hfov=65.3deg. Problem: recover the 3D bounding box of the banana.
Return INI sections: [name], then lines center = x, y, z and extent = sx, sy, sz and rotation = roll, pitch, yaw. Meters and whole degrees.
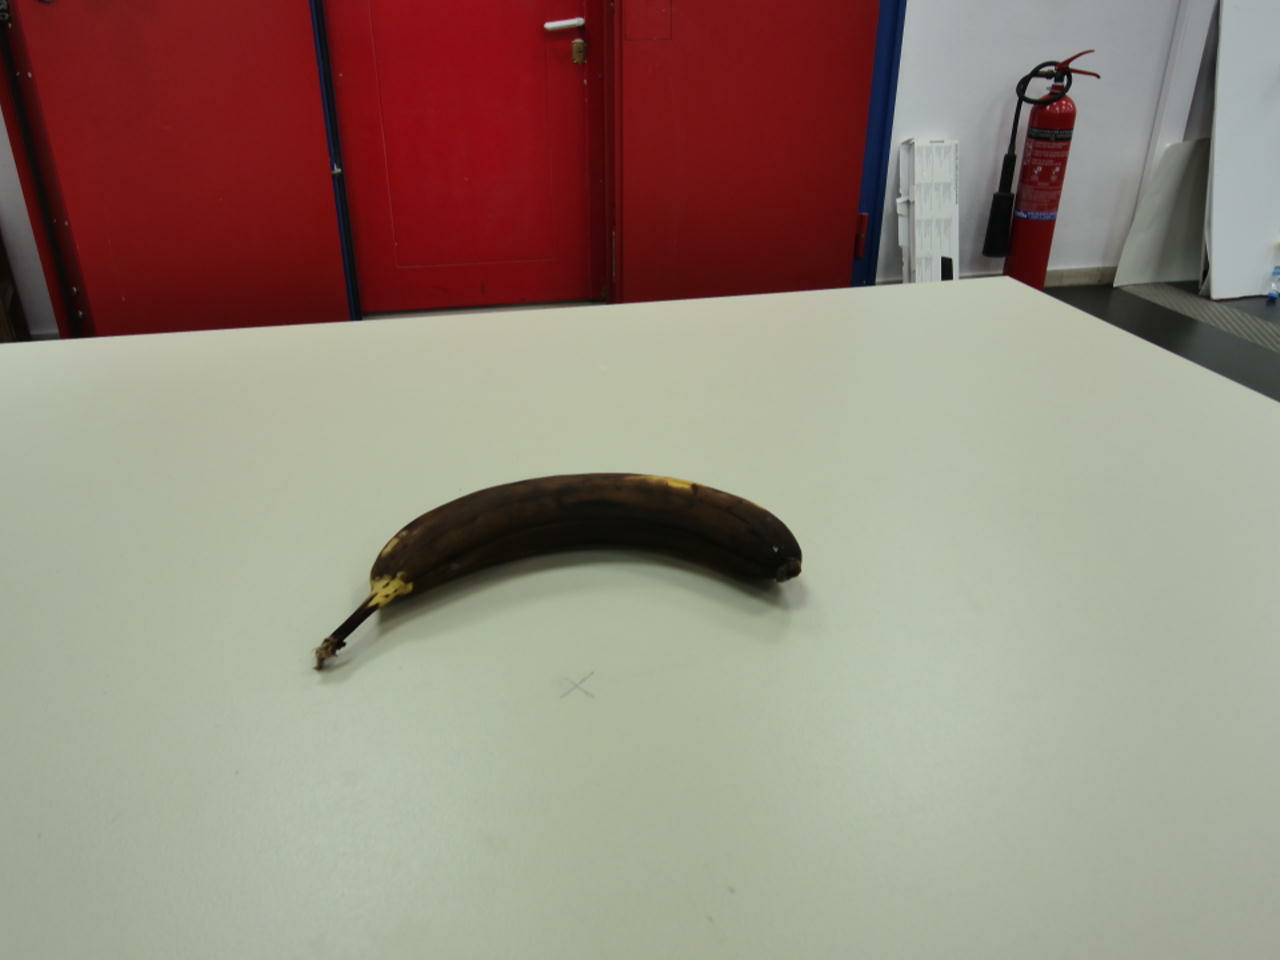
[banana]
center = -0.033, 0.025, 0.406
extent = 0.188, 0.034, 0.091
rotation = -6, 25, -11
